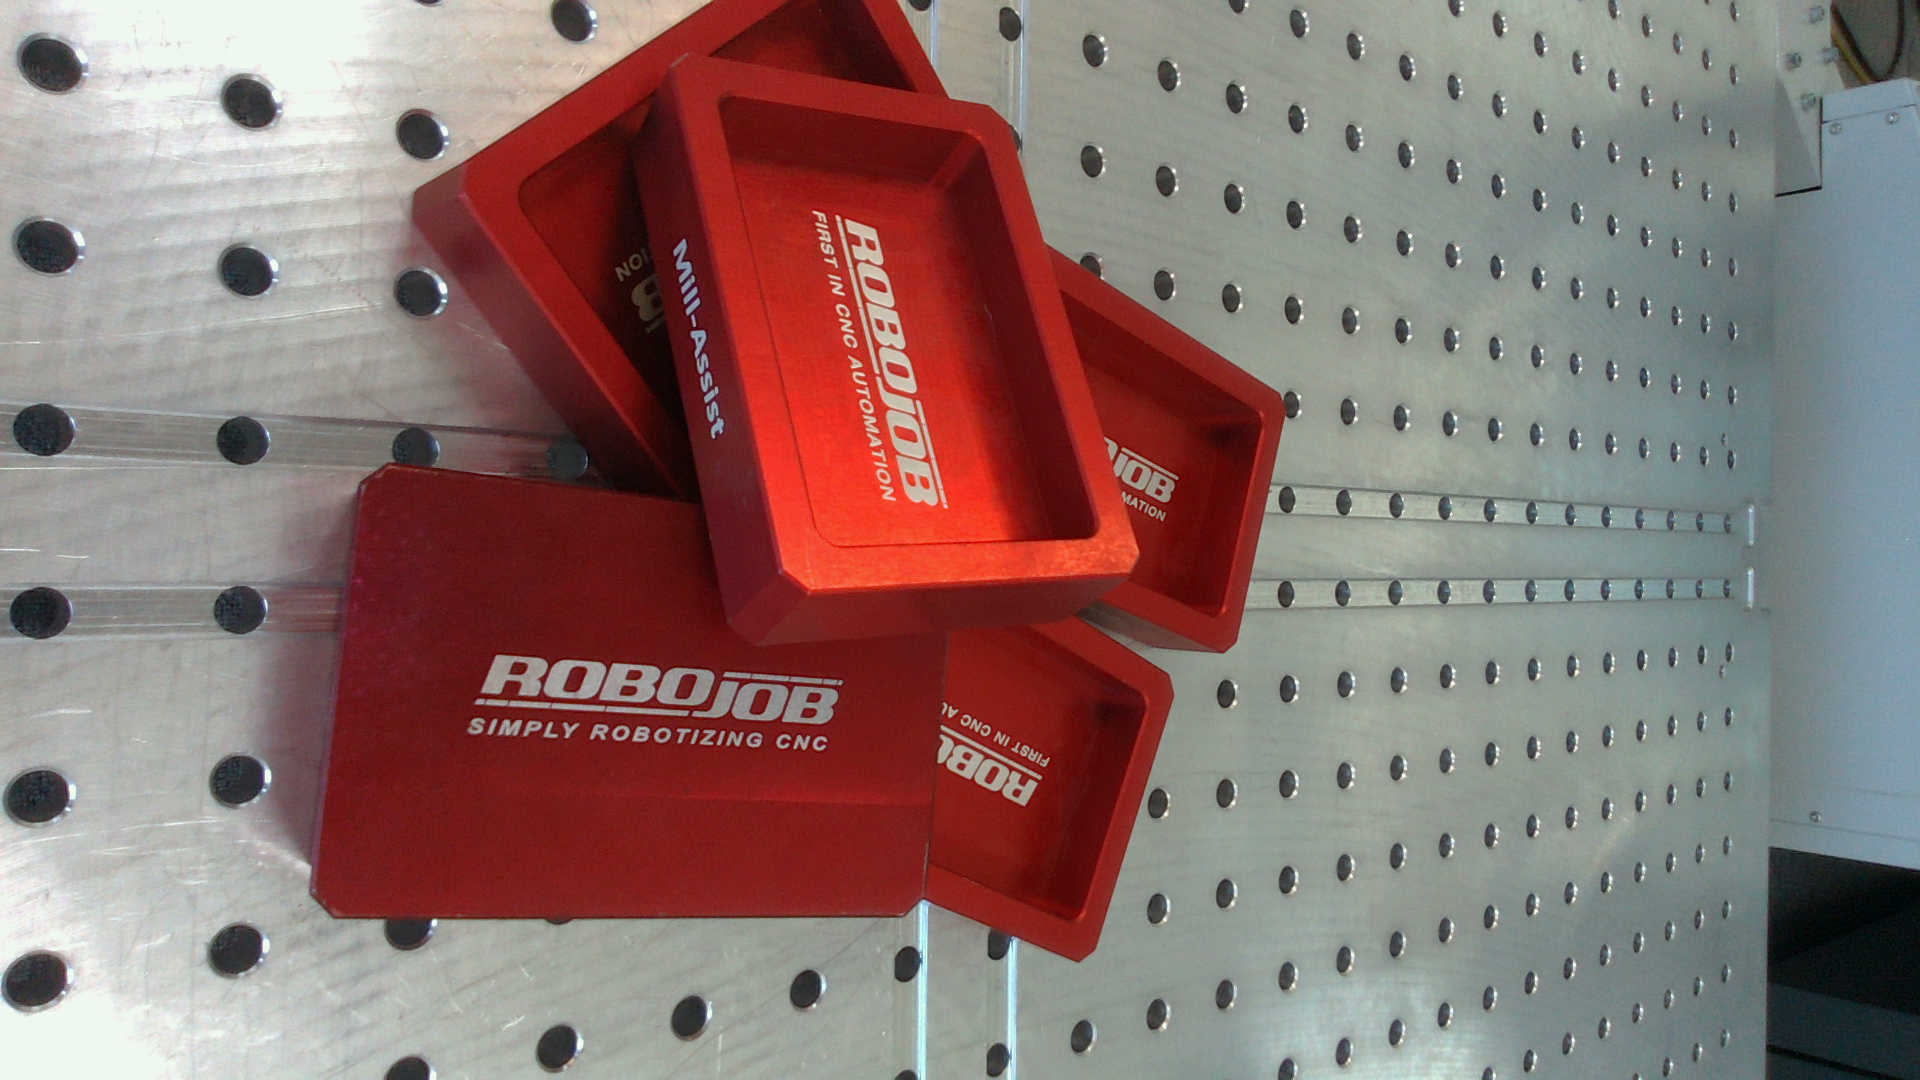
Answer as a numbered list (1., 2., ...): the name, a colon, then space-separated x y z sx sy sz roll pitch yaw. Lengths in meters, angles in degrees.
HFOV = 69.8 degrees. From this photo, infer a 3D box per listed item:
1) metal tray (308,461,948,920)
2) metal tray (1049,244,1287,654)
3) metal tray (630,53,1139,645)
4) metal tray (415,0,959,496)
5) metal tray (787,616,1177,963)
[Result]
1. metal tray: -0.069 0.036 0.308 0.130 0.030 0.090 8 86 -25
2. metal tray: 0.043 -0.025 0.422 0.130 0.030 0.090 23 76 -38
3. metal tray: -0.019 -0.044 0.317 0.090 0.030 0.130 -2 67 -33
4. metal tray: -0.053 -0.081 0.342 0.130 0.030 0.090 -47 117 -30
5. metal tray: -0.001 0.056 0.386 0.130 0.030 0.090 32 71 -35
